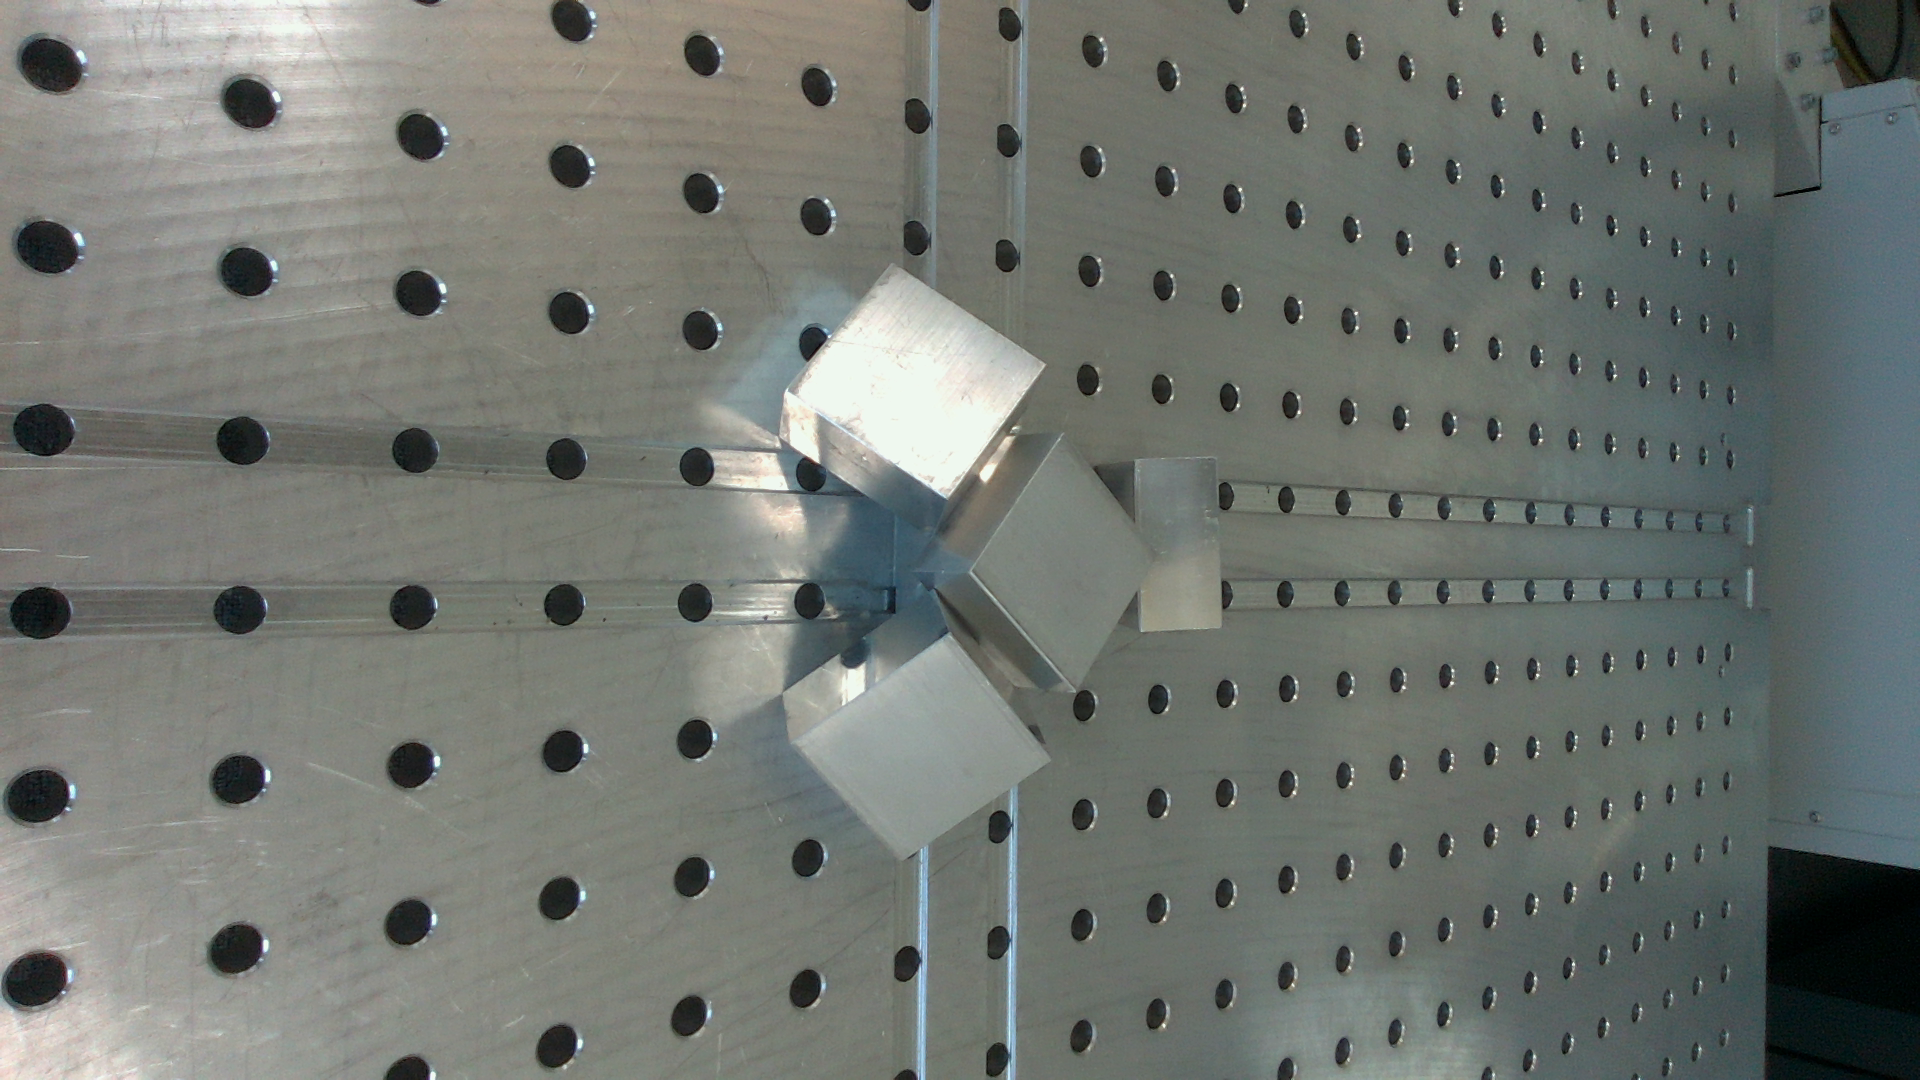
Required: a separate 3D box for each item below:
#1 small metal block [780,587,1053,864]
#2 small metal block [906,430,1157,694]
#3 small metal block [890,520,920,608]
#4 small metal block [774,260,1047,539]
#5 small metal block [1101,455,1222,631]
[{"bbox_3d":[-0.012,0.050,0.365,0.050,0.025,0.050,-35,117,6],"label":"small metal block"},{"bbox_3d":[0.021,0.006,0.376,0.050,0.025,0.050,49,61,-29],"label":"small metal block"},{"bbox_3d":[0.008,0.006,0.398,0.050,0.025,0.050,2,91,-40],"label":"small metal block"},{"bbox_3d":[-0.013,-0.037,0.364,0.050,0.025,0.050,34,64,4],"label":"small metal block"},{"bbox_3d":[0.060,0.000,0.421,0.025,0.050,0.050,-2,92,-7],"label":"small metal block"}]
